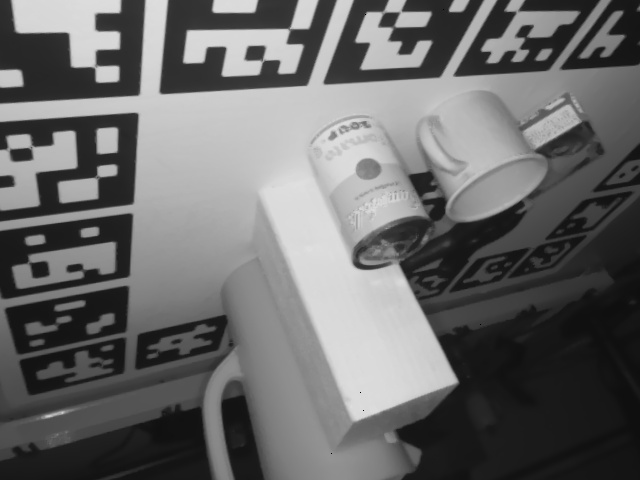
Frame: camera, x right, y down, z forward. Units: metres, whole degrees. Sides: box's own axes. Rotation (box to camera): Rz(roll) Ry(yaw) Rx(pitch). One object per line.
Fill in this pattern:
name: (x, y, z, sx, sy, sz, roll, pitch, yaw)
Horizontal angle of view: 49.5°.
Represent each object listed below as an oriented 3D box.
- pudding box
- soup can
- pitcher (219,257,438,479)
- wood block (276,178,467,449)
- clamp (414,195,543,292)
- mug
pudding box: (0.248, -0.092, 0.682, 0.089, 0.038, 0.115, -40, 147, 21)
soup can: (0.050, -0.043, 0.551, 0.068, 0.102, 0.067, -18, 147, -11)
pitcher: (-0.010, 0.140, 0.663, 0.191, 0.242, 0.131, -12, 150, -23)
wood block: (0.033, 0.054, 0.587, 0.091, 0.207, 0.090, -8, 147, -17)
clamp: (0.193, 0.000, 0.800, 0.123, 0.037, 0.162, 18, 130, -40)
mug: (0.136, -0.078, 0.578, 0.092, 0.081, 0.118, -36, 149, 25)
